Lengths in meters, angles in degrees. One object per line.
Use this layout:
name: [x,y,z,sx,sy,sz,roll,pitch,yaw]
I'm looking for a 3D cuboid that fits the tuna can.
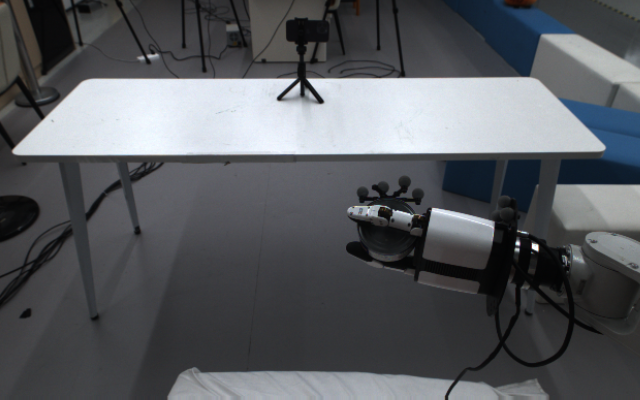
tuna can: [0.096,0.041,0.679,0.085,0.034,0.085,-4,61,7]
